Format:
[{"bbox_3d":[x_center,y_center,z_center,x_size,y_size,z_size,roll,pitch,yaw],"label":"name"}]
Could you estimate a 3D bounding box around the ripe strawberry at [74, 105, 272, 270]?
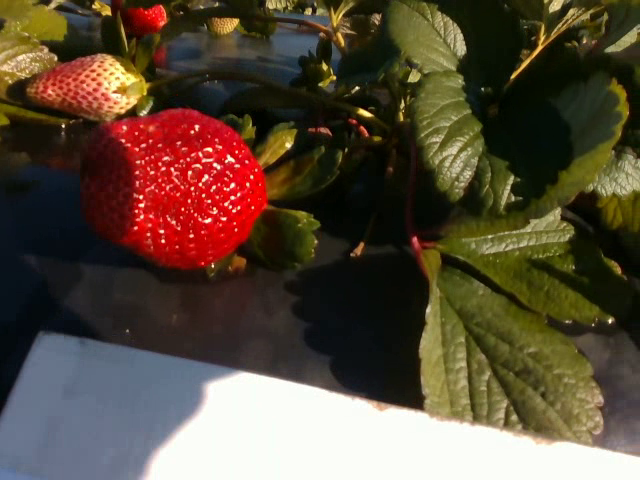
[{"bbox_3d":[-0.042,-0.013,0.172,0.058,0.066,0.061,-39,-17,7],"label":"ripe strawberry"}]
